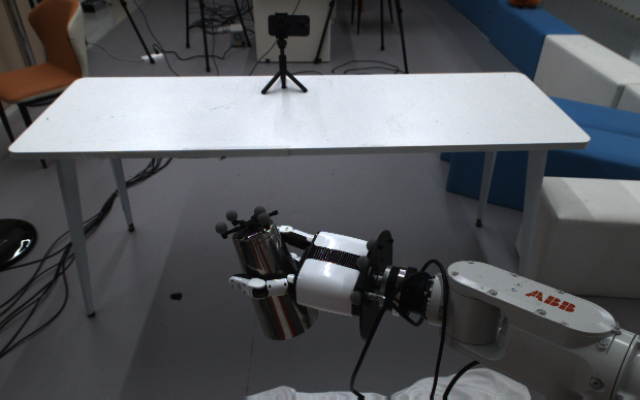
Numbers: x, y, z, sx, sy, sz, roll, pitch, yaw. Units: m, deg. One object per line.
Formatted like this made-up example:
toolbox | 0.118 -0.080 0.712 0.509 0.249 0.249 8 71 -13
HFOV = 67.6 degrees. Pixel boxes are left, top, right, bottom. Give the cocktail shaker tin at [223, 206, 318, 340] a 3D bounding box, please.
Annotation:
cocktail shaker tin | -0.072 0.116 0.736 0.093 0.170 0.093 -17 20 7
